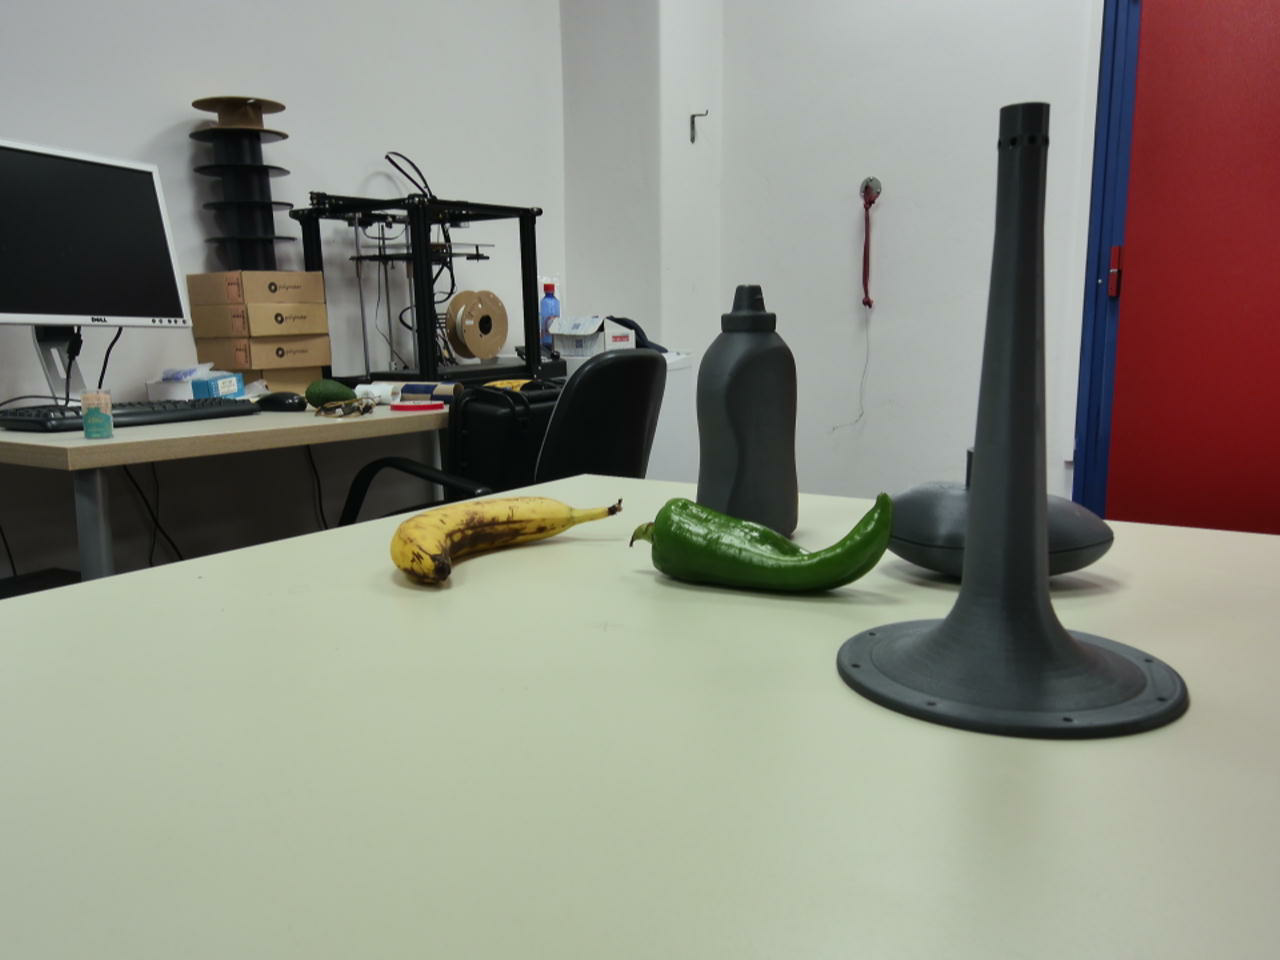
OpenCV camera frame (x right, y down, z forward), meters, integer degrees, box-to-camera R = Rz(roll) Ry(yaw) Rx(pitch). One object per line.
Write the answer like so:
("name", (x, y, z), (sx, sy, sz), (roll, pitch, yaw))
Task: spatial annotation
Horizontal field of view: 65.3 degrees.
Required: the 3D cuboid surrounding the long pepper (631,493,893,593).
("long pepper", (0.069, 0.035, 0.627), (0.175, 0.065, 0.058), (5, 8, 33))
